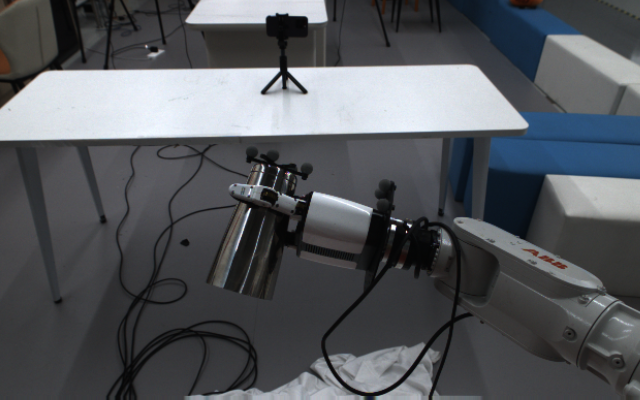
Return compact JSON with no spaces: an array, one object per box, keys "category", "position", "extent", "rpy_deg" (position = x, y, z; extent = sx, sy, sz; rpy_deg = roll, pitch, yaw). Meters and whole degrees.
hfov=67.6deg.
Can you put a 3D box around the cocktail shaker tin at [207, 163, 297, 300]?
[{"category":"cocktail shaker tin","position":[-0.082,0.040,0.659],"extent":[0.093,0.093,0.170],"rpy_deg":[13,79,15]}]
